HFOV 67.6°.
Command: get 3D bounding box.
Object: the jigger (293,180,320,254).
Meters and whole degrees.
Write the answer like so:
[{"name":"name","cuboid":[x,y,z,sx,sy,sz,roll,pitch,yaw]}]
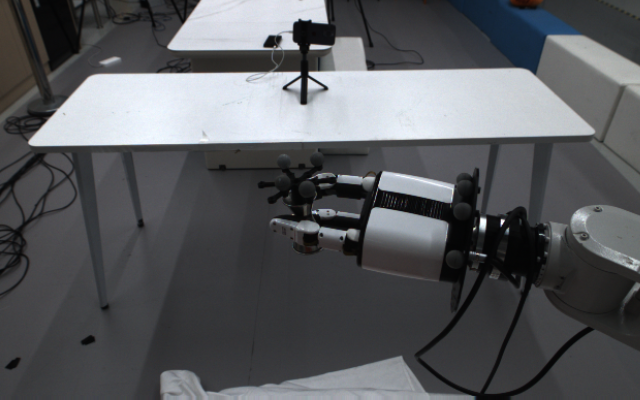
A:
[{"name":"jigger","cuboid":[-0.016,0.022,0.568,0.043,0.071,0.043,-9,31,5]}]
